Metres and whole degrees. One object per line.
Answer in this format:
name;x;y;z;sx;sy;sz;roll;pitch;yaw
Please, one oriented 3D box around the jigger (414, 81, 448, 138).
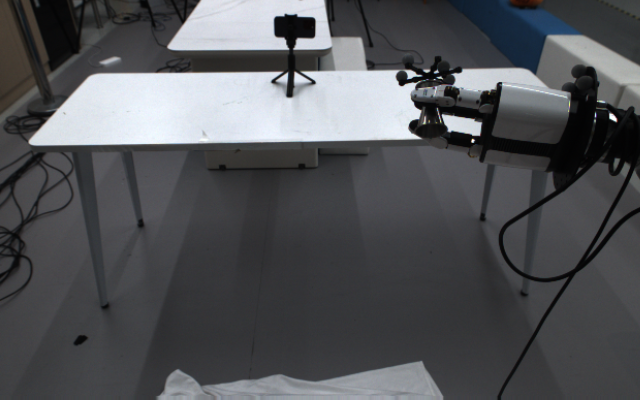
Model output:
jigger;0.149;-0.126;0.660;0.043;0.043;0.071;3;72;1
